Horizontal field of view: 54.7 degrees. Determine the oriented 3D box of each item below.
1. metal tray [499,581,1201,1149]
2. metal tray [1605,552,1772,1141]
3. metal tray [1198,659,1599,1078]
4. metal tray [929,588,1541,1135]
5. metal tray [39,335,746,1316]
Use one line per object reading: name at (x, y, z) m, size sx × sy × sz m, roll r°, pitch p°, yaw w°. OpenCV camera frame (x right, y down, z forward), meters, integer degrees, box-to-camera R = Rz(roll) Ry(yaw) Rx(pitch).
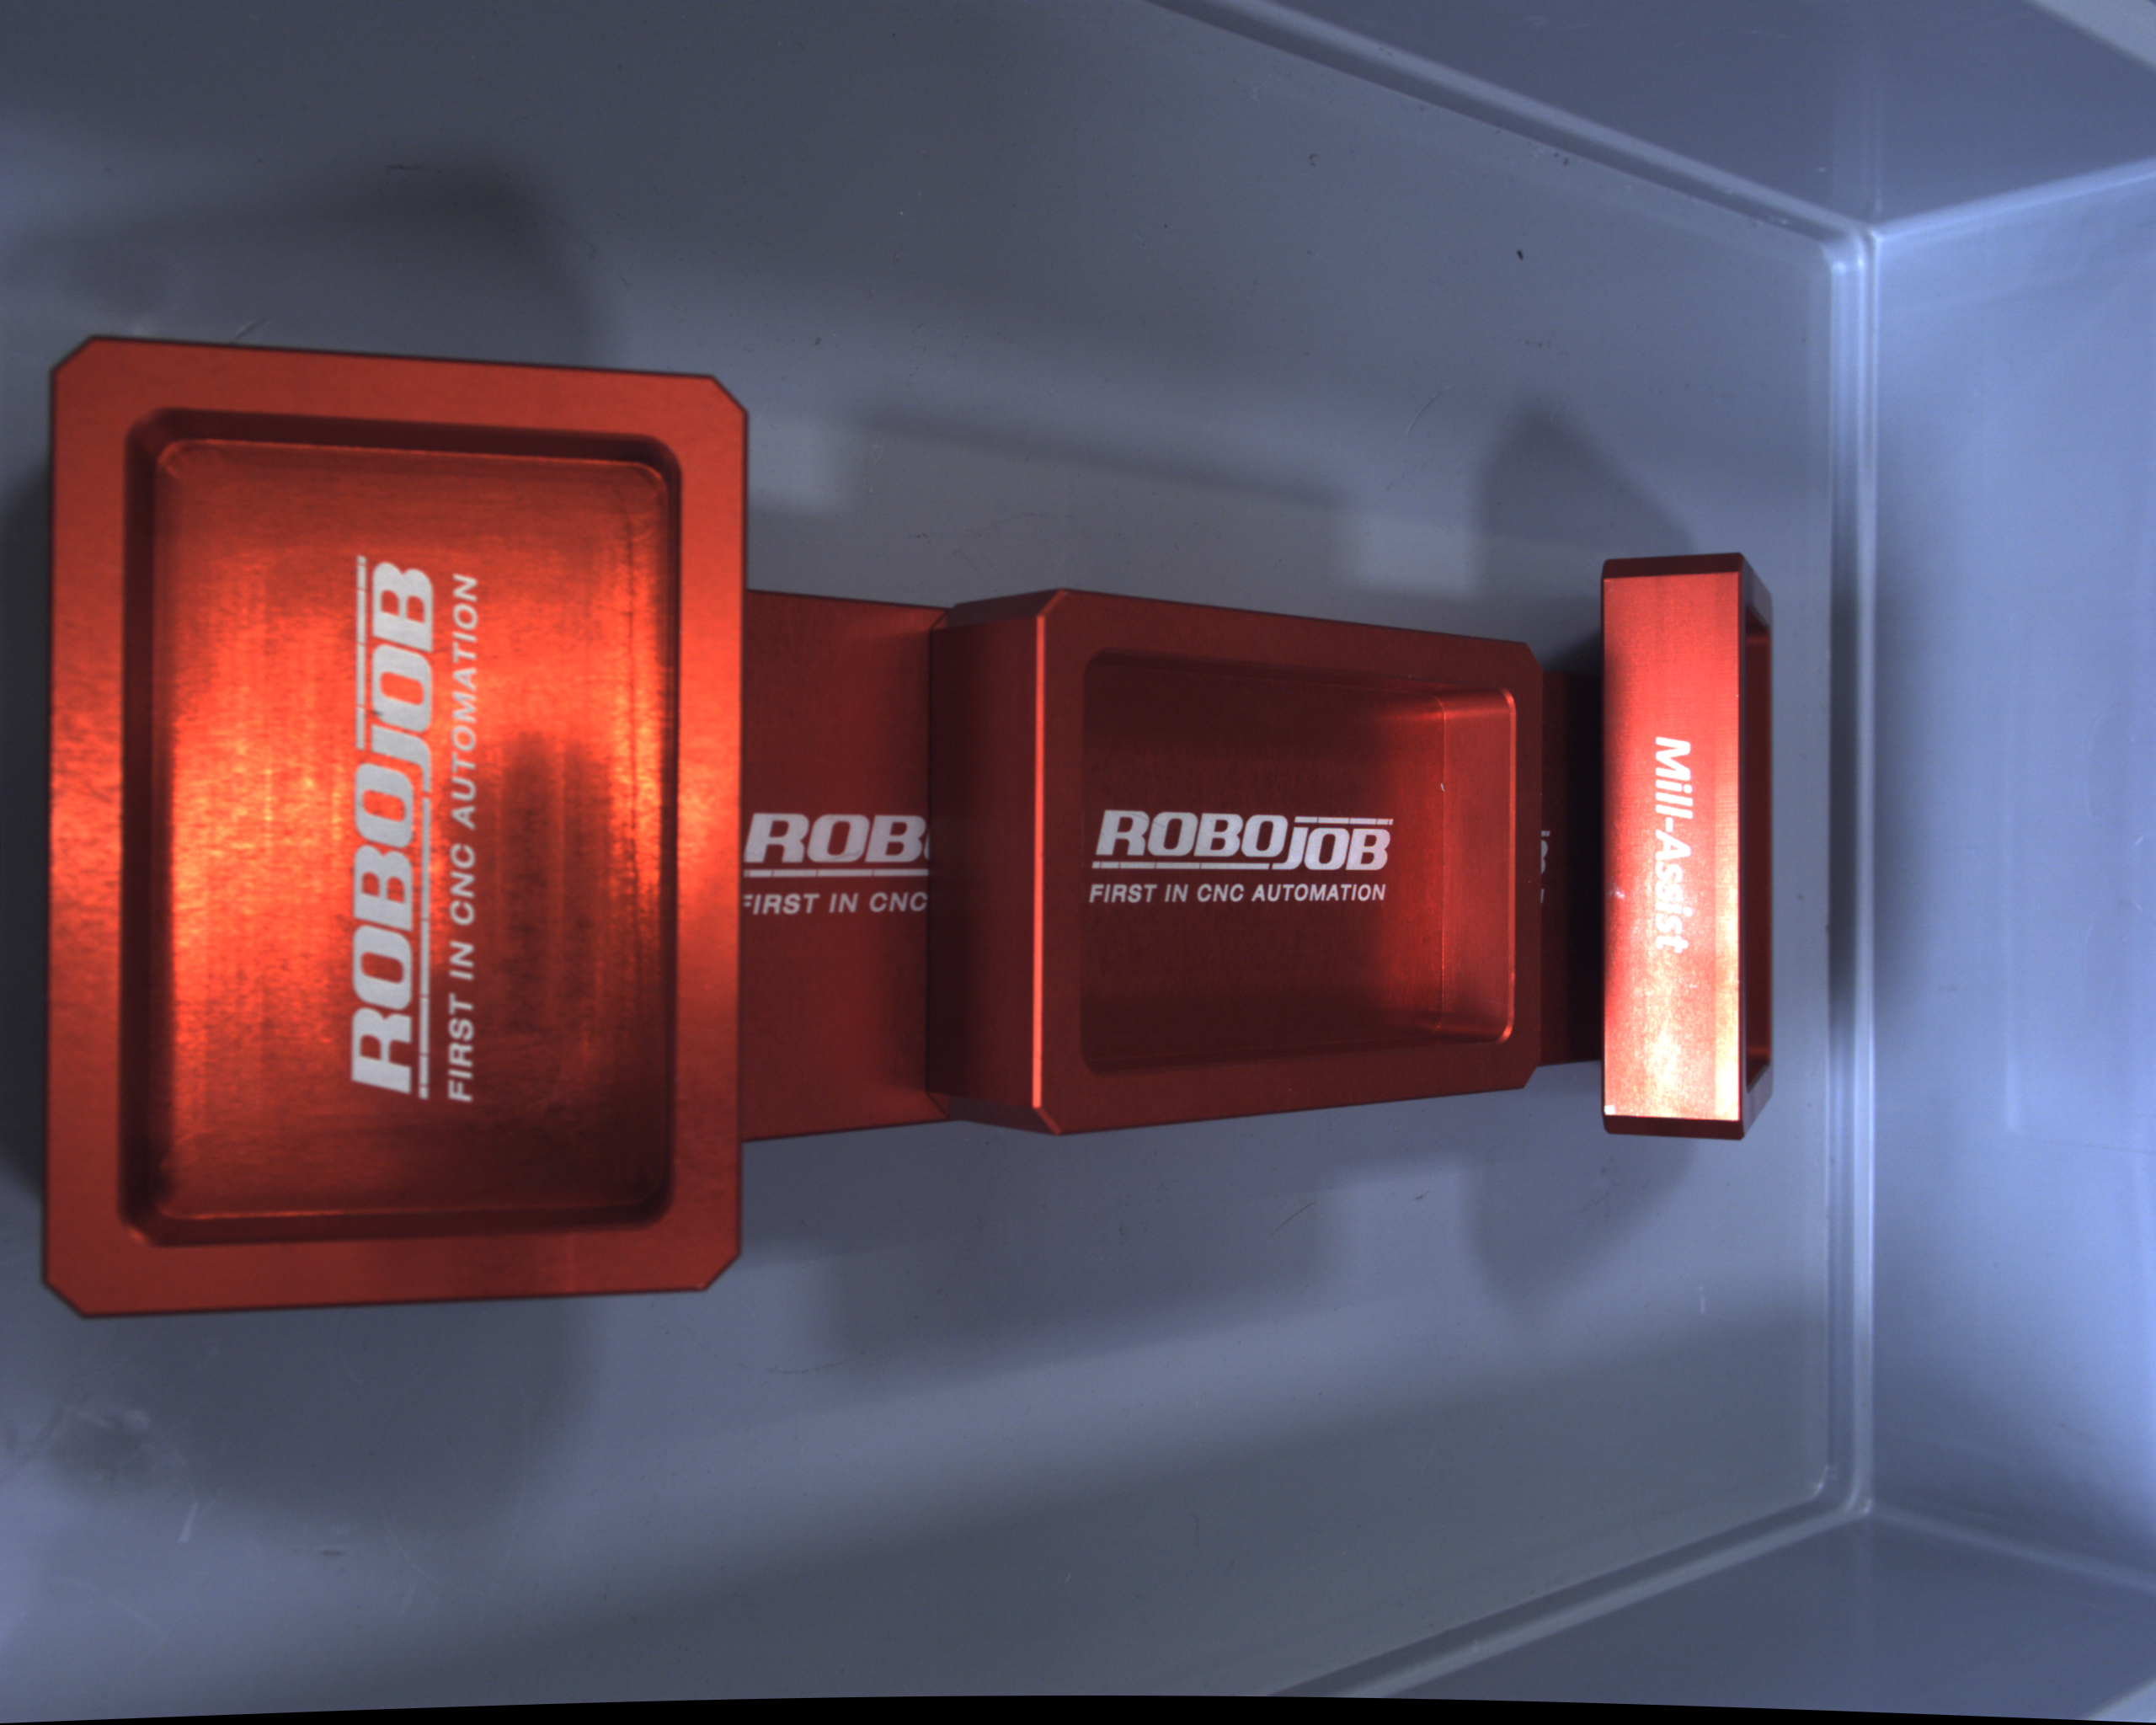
metal tray at (-0.036, 0.000, 0.373) m, size 0.131 × 0.030 × 0.089 m, roll 0°, pitch 90°, yaw -40°
metal tray at (0.148, -0.004, 0.500) m, size 0.090 × 0.030 × 0.129 m, roll 0°, pitch 90°, yaw -68°
metal tray at (0.065, 0.001, 0.456) m, size 0.131 × 0.030 × 0.089 m, roll 0°, pitch 90°, yaw -40°
metal tray at (0.034, 0.000, 0.390) m, size 0.131 × 0.030 × 0.089 m, roll 1°, pitch 89°, yaw -40°
metal tray at (-0.095, -0.005, 0.298) m, size 0.091 × 0.030 × 0.129 m, roll 1°, pitch 90°, yaw -15°
